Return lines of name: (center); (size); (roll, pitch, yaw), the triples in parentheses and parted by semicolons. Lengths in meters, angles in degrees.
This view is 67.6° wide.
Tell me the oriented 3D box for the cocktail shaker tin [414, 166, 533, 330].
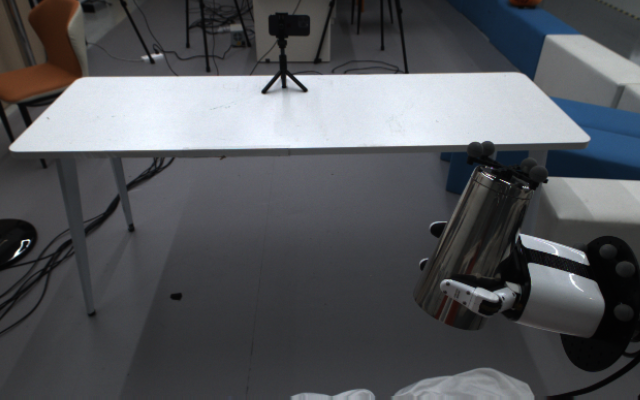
cocktail shaker tin: (0.180, 0.051, 0.557); (0.093, 0.170, 0.093); (14, 20, -5)
